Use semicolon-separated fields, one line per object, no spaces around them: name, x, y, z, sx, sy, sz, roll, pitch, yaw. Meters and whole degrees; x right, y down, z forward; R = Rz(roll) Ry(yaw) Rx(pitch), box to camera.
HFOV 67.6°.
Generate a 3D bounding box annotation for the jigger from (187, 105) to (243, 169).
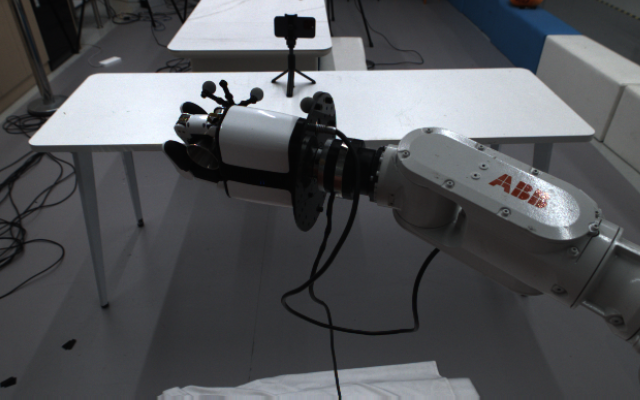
jigger;-0.124;-0.076;0.590;0.043;0.043;0.071;13;58;15
